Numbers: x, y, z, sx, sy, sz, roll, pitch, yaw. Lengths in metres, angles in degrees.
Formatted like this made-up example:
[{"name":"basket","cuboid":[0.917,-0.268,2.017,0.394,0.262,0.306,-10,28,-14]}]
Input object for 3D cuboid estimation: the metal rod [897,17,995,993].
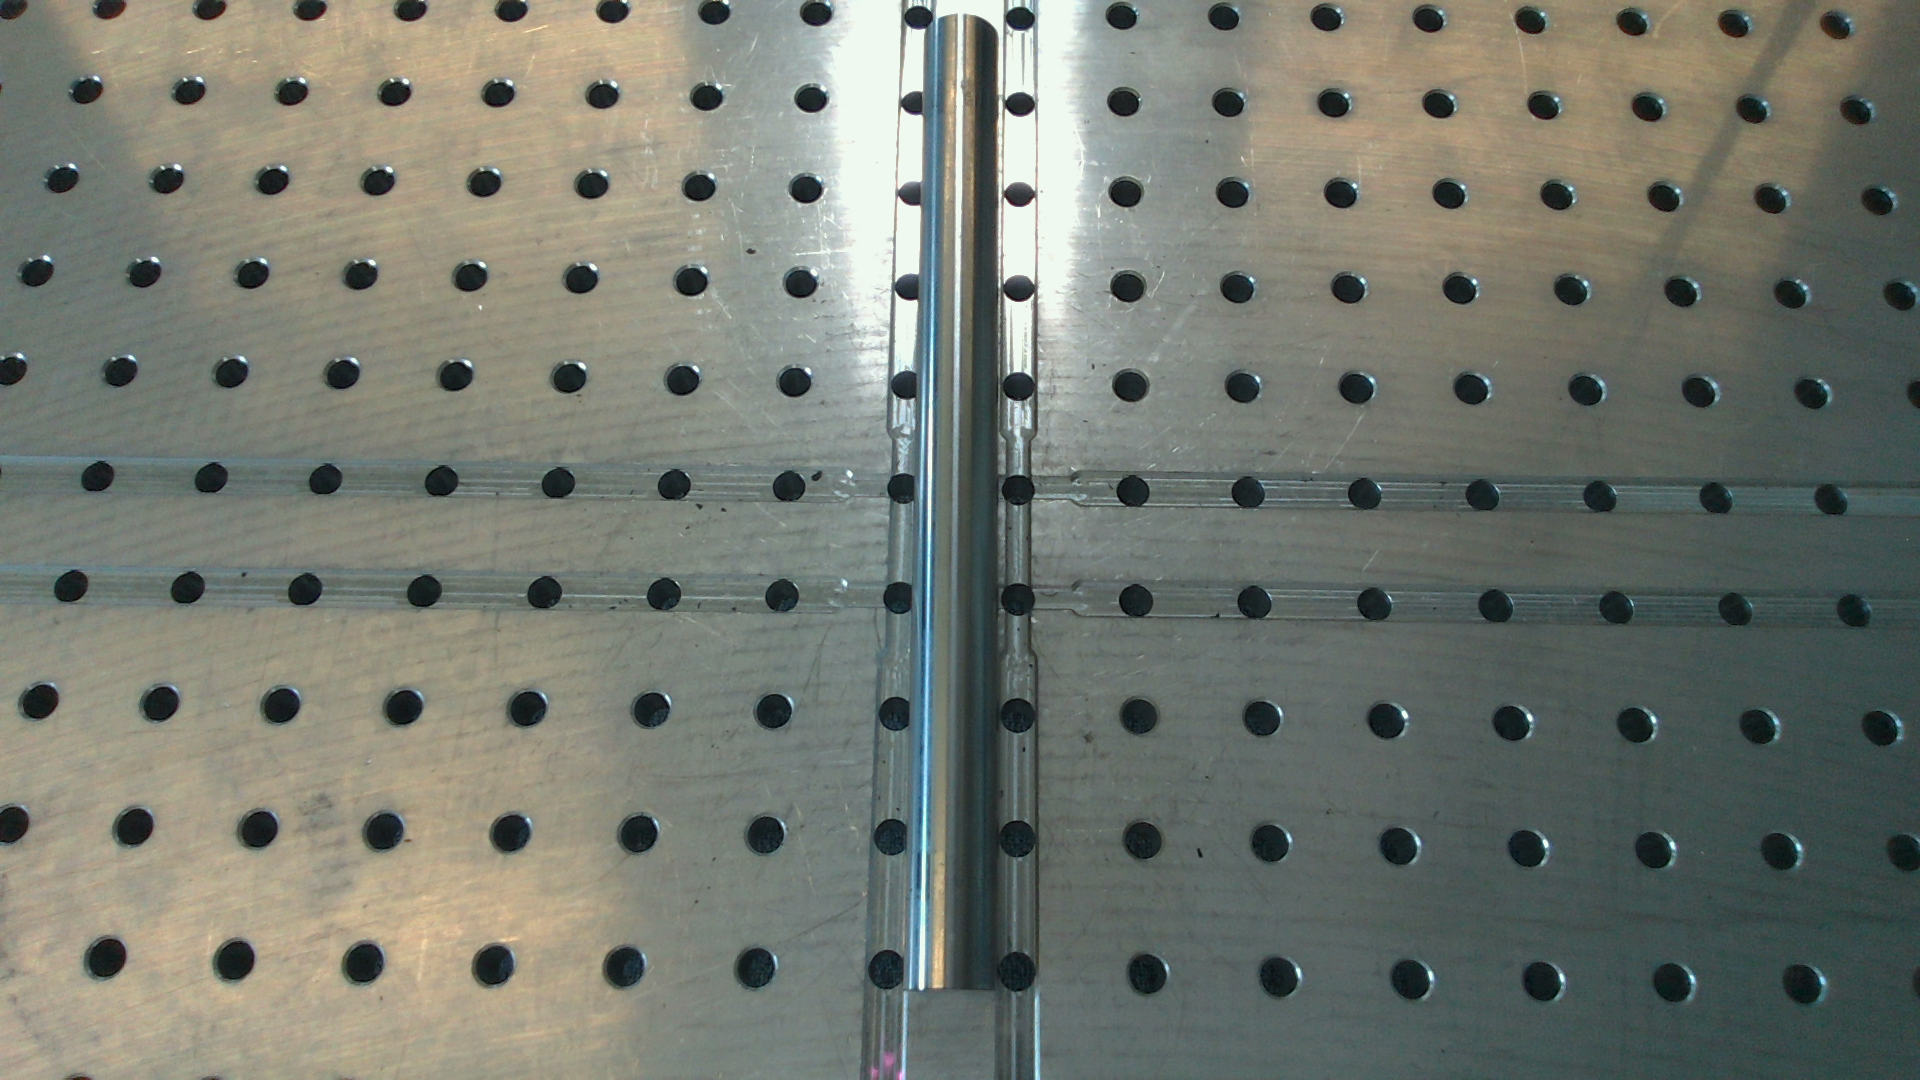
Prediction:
[{"name":"metal rod","cuboid":[-0.002,-0.024,0.406,0.025,0.025,0.300,1,70,0]}]
